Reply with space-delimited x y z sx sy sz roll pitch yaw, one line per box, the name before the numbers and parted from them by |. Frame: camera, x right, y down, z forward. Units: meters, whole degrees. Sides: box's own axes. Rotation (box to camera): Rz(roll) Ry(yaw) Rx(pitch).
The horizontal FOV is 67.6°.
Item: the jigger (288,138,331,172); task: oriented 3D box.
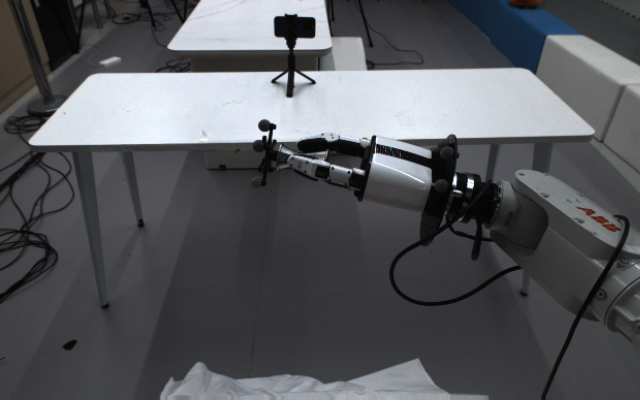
jigger | -0.017 -0.058 0.682 0.071 0.043 0.043 9 35 4
